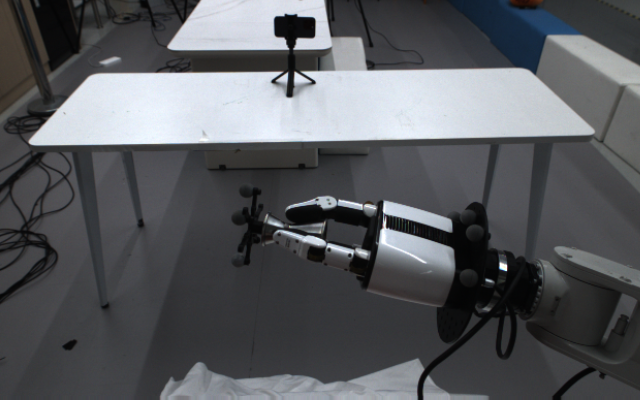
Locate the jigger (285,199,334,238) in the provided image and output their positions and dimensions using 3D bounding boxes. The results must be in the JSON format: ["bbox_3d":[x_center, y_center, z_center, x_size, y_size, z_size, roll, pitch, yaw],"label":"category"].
[{"bbox_3d":[-0.021,0.035,0.550,0.071,0.043,0.043,8,35,5],"label":"jigger"}]
